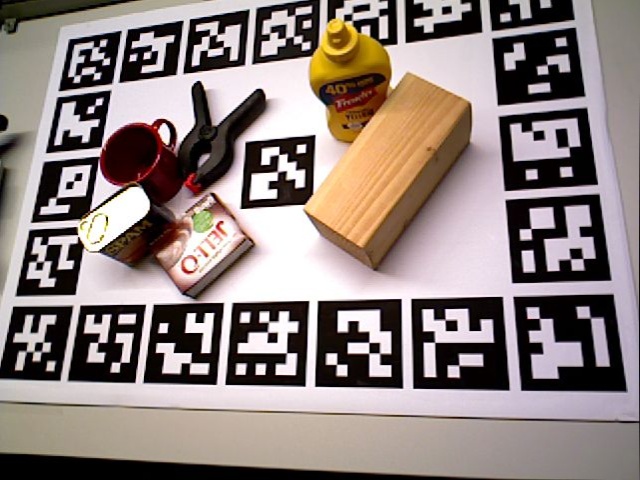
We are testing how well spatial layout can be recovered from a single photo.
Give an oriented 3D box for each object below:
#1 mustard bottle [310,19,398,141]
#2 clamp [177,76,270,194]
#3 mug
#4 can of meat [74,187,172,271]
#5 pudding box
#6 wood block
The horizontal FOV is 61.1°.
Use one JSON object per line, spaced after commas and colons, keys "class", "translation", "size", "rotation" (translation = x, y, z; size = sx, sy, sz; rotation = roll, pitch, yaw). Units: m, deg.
{"class": "mustard bottle", "translation": [0.040, -0.184, 0.622], "size": [0.096, 0.192, 0.058], "rotation": [-8, 70, 12]}
{"class": "clamp", "translation": [-0.149, -0.144, 0.750], "size": [0.122, 0.037, 0.164], "rotation": [17, 80, 18]}
{"class": "mug", "translation": [-0.231, -0.103, 0.755], "size": [0.093, 0.082, 0.116], "rotation": [20, 80, 19]}
{"class": "can of meat", "translation": [-0.251, -0.010, 0.700], "size": [0.102, 0.084, 0.057], "rotation": [-32, 68, 3]}
{"class": "pudding box", "translation": [-0.150, 0.015, 0.695], "size": [0.113, 0.039, 0.090], "rotation": [-40, 68, -2]}
{"class": "wood block", "translation": [0.090, -0.070, 0.632], "size": [0.090, 0.091, 0.205], "rotation": [35, 82, 24]}
